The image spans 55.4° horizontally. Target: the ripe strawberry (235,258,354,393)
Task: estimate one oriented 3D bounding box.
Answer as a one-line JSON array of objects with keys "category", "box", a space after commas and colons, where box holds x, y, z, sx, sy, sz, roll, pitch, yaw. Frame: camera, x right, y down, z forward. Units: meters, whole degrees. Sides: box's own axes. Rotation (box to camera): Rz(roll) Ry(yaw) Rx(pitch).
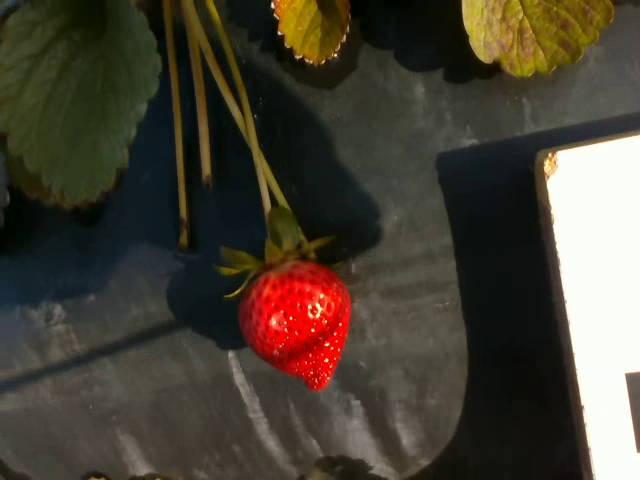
[{"category": "ripe strawberry", "box": [-0.005, 0.027, 0.178, 0.040, 0.044, 0.036, -30, -7, 16]}]
